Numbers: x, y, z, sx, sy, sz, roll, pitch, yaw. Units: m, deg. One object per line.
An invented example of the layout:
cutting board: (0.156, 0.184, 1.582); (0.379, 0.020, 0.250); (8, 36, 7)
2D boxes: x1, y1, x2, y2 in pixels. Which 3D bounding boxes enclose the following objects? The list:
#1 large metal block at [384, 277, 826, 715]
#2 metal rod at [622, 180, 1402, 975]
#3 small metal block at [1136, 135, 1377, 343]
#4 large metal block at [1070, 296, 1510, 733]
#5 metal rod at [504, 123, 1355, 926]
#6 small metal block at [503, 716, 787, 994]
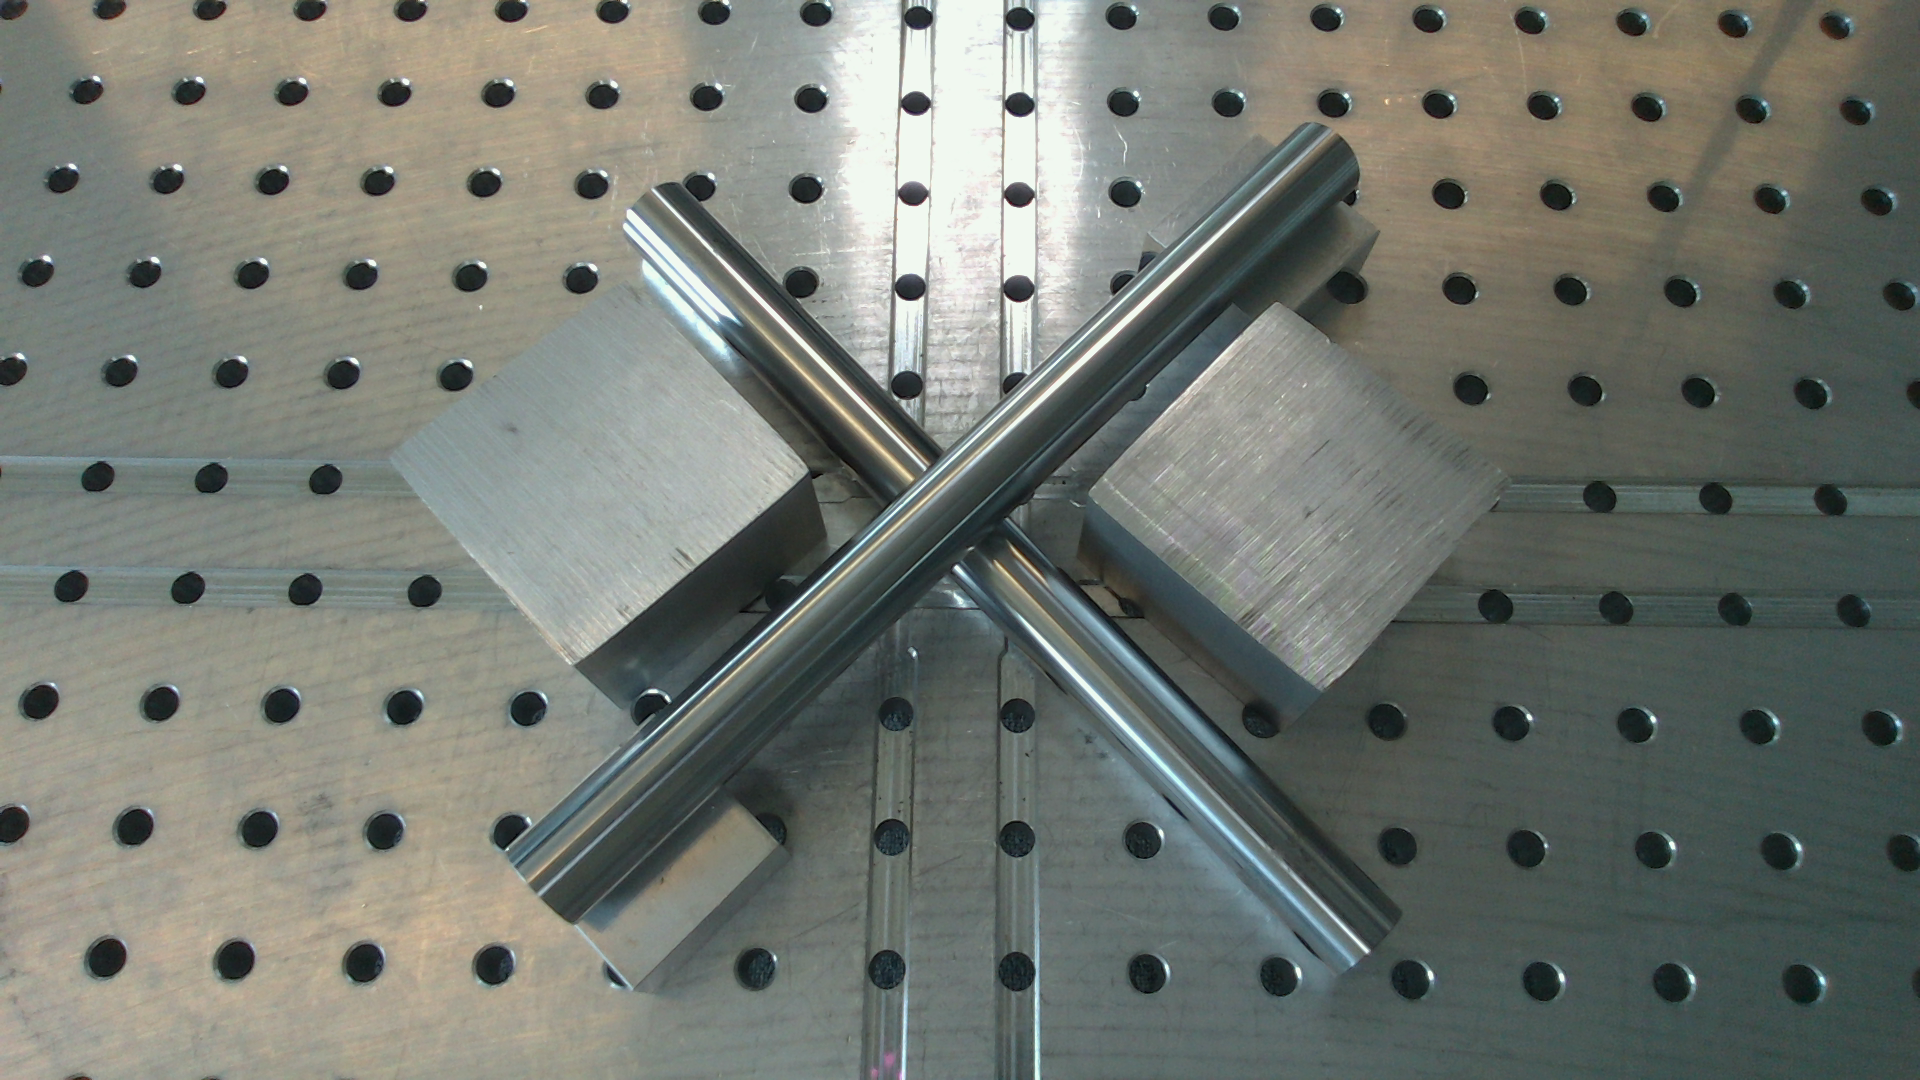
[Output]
large metal block: (-0.096, -0.012, 0.388); (0.080, 0.050, 0.080); (-41, 75, -14)
metal rod: (0.005, 0.001, 0.396); (0.025, 0.025, 0.300); (-41, 75, -13)
small metal block: (0.092, -0.089, 0.431); (0.050, 0.025, 0.050); (-42, 75, -14)
large metal block: (0.089, -0.006, 0.386); (0.080, 0.050, 0.080); (41, 75, 14)
metal rod: (0.002, -0.014, 0.375); (0.025, 0.025, 0.300); (43, 75, 14)
small metal block: (-0.082, 0.083, 0.366); (0.050, 0.025, 0.050); (43, 75, 14)
